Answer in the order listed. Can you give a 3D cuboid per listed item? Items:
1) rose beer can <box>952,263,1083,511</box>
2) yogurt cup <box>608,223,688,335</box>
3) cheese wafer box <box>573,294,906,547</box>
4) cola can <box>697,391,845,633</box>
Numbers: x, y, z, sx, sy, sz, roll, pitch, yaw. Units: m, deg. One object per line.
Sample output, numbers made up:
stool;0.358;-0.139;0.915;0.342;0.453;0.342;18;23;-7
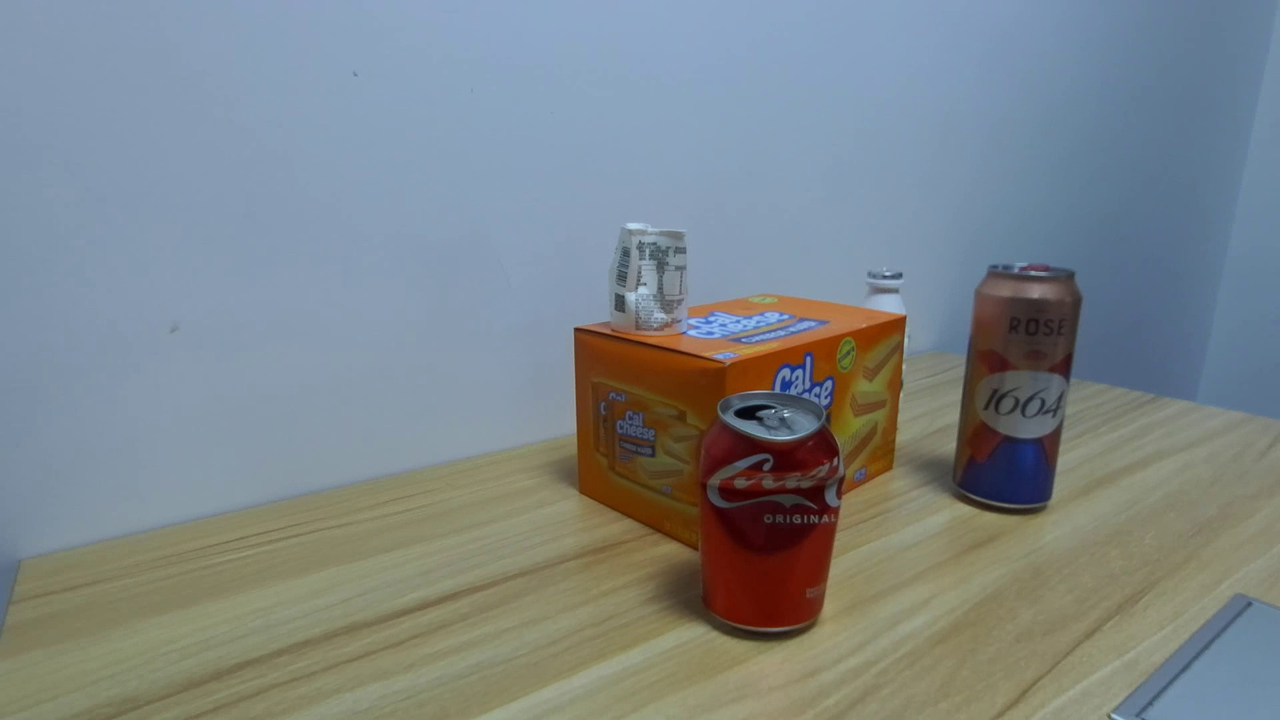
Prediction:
rose beer can;0.267;0.021;0.503;0.068;0.169;0.068;1;14;0
yogurt cup;0.006;-0.056;0.485;0.055;0.072;0.055;1;14;3
cheese wafer box;0.080;0.032;0.537;0.223;0.129;0.147;-13;20;-41
cola can;0.068;0.078;0.369;0.072;0.117;0.065;2;13;9
